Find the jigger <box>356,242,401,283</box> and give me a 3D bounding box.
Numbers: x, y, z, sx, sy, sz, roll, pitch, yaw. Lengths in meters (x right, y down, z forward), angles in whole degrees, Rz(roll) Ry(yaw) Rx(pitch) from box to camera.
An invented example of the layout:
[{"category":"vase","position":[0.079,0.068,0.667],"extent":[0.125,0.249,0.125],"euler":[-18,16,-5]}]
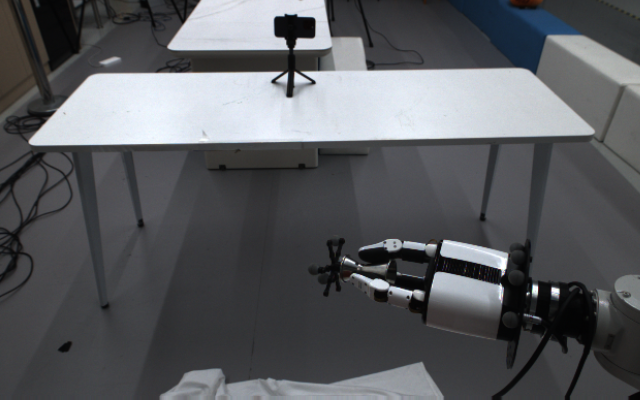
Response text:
[{"category":"jigger","position":[0.073,0.091,0.661],"extent":[0.071,0.043,0.043],"euler":[3,32,27]}]
